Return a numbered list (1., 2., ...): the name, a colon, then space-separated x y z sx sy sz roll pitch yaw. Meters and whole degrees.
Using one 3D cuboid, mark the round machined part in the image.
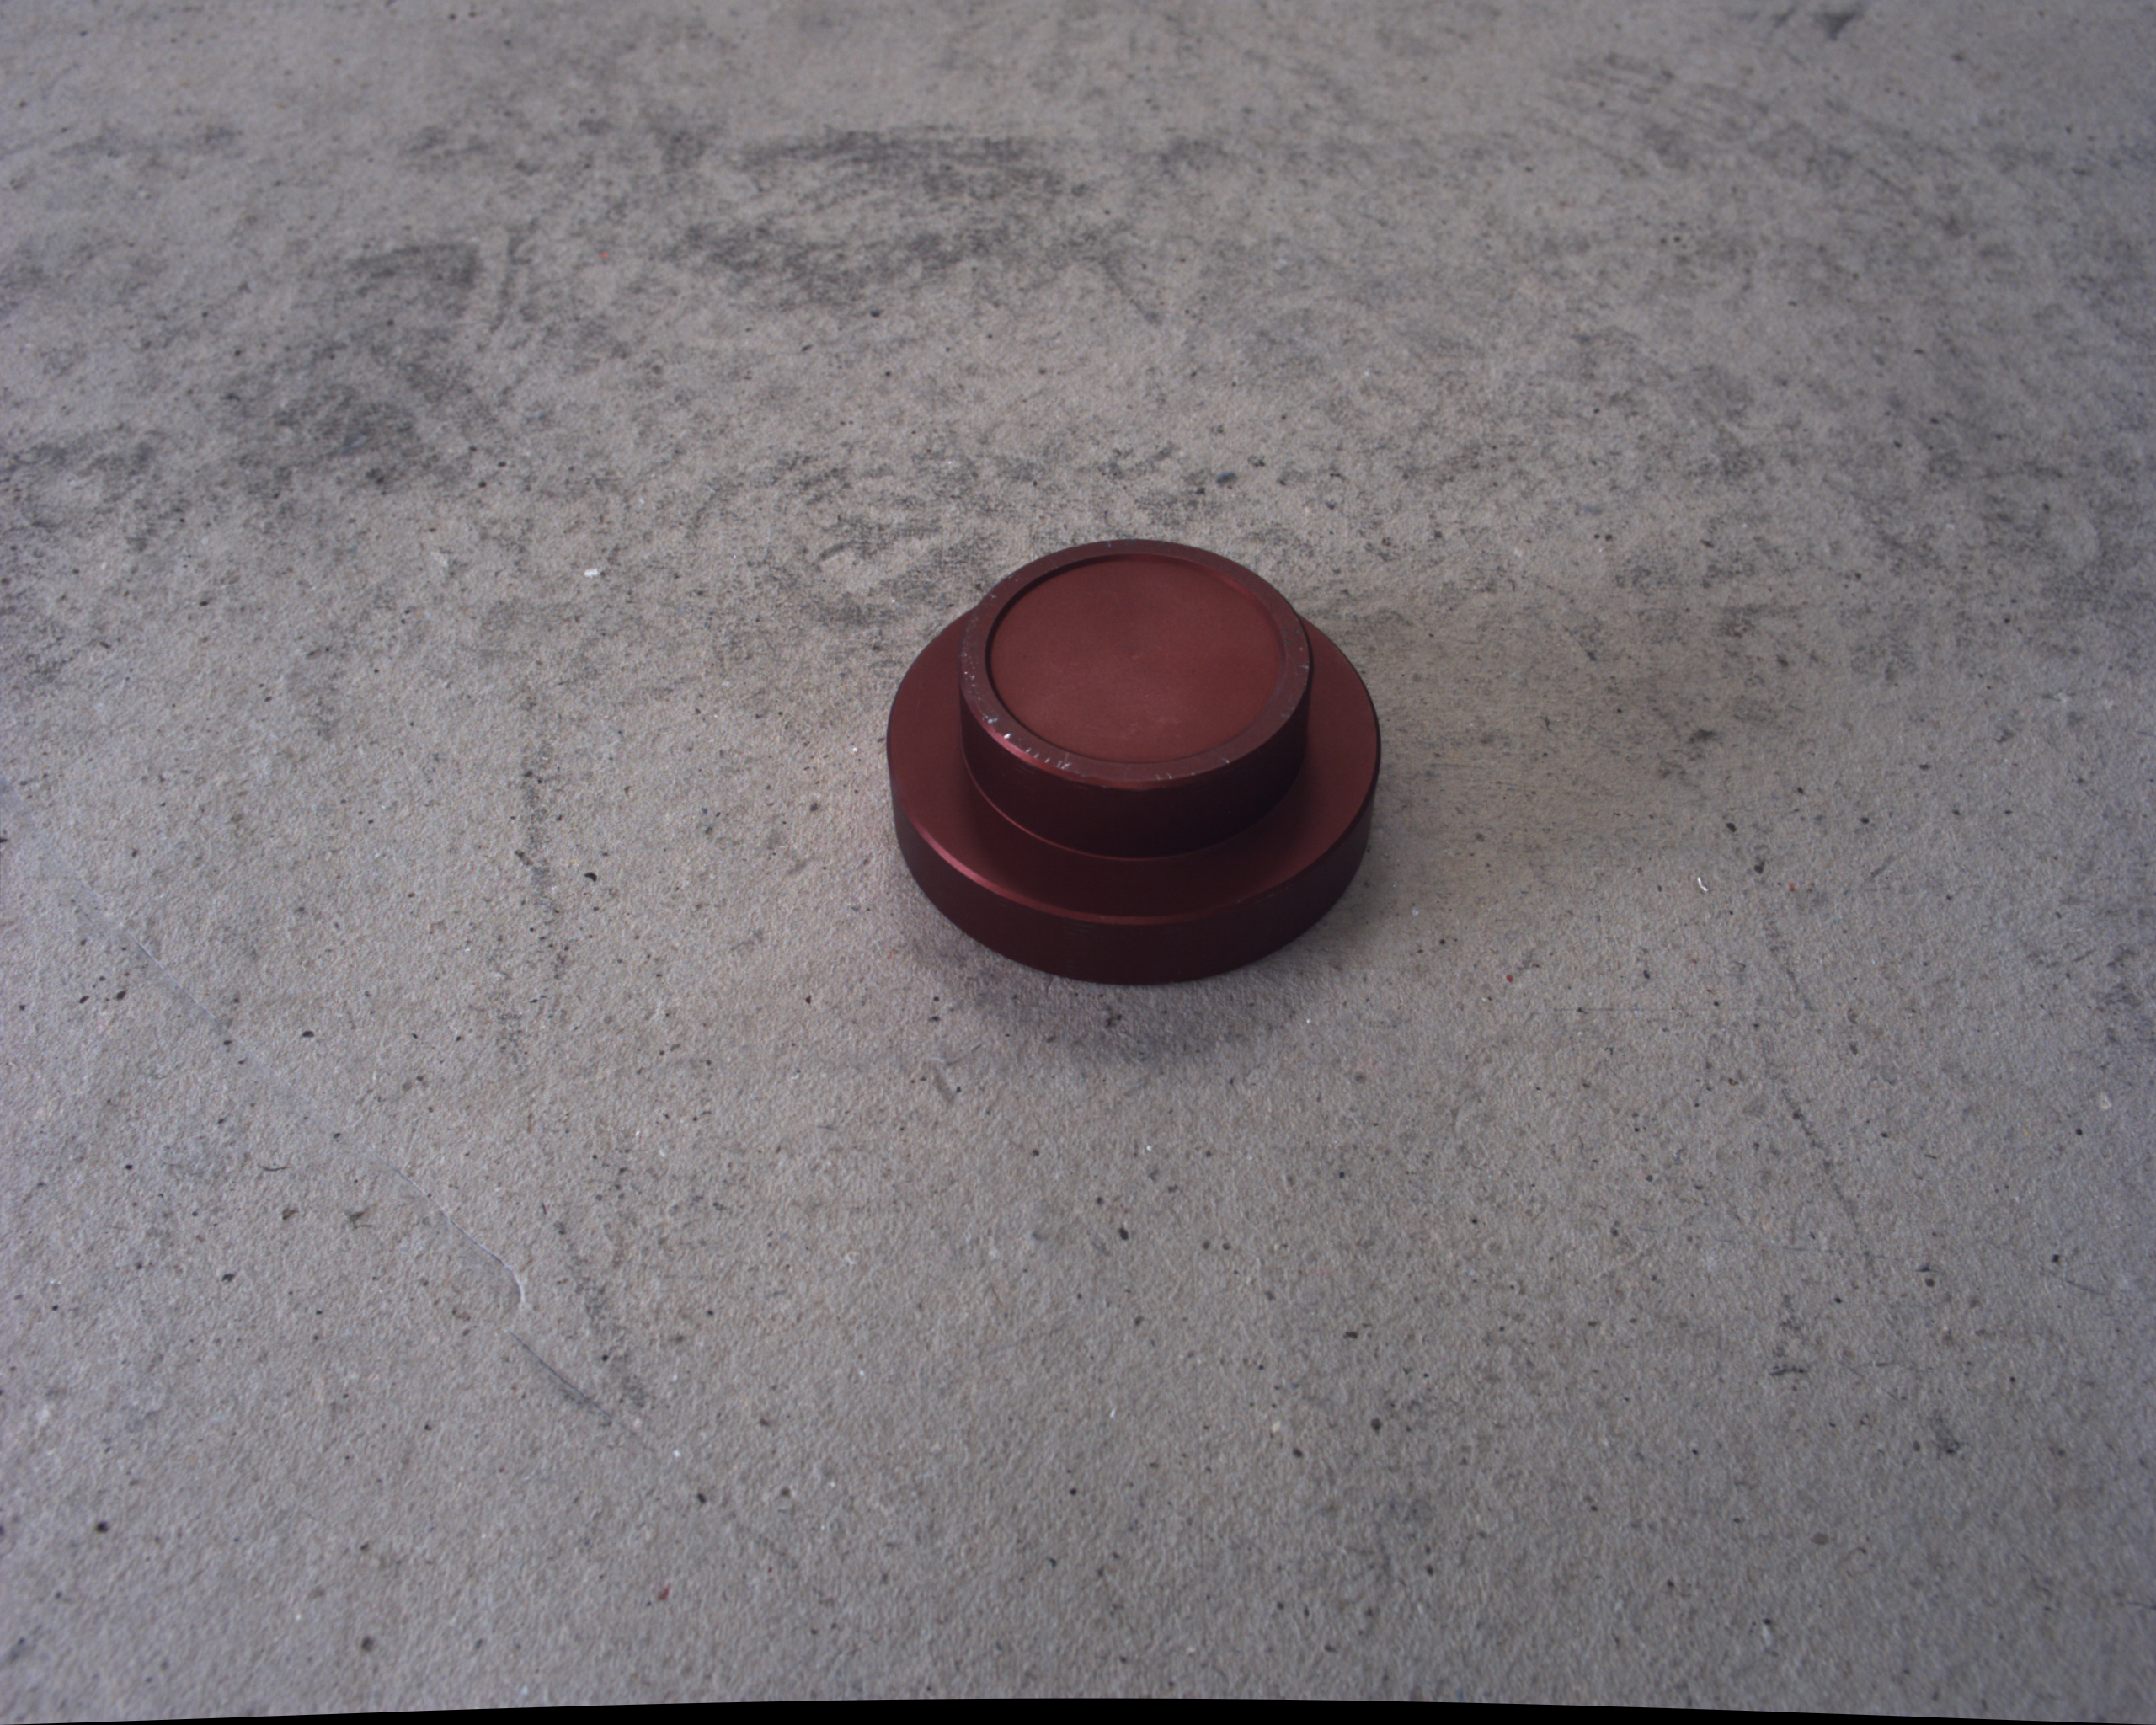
1. round machined part: 0.011 -0.026 0.417 0.099 0.042 0.098 0 50 0
